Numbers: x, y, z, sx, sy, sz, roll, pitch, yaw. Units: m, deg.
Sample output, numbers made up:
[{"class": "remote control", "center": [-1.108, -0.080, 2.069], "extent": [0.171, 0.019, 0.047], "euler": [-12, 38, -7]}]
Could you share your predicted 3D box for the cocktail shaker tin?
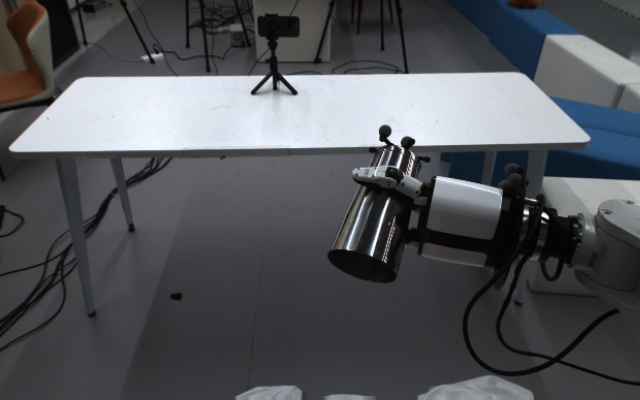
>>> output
[{"class": "cocktail shaker tin", "center": [0.081, 0.013, 0.642], "extent": [0.093, 0.093, 0.170], "euler": [14, 63, 17]}]
